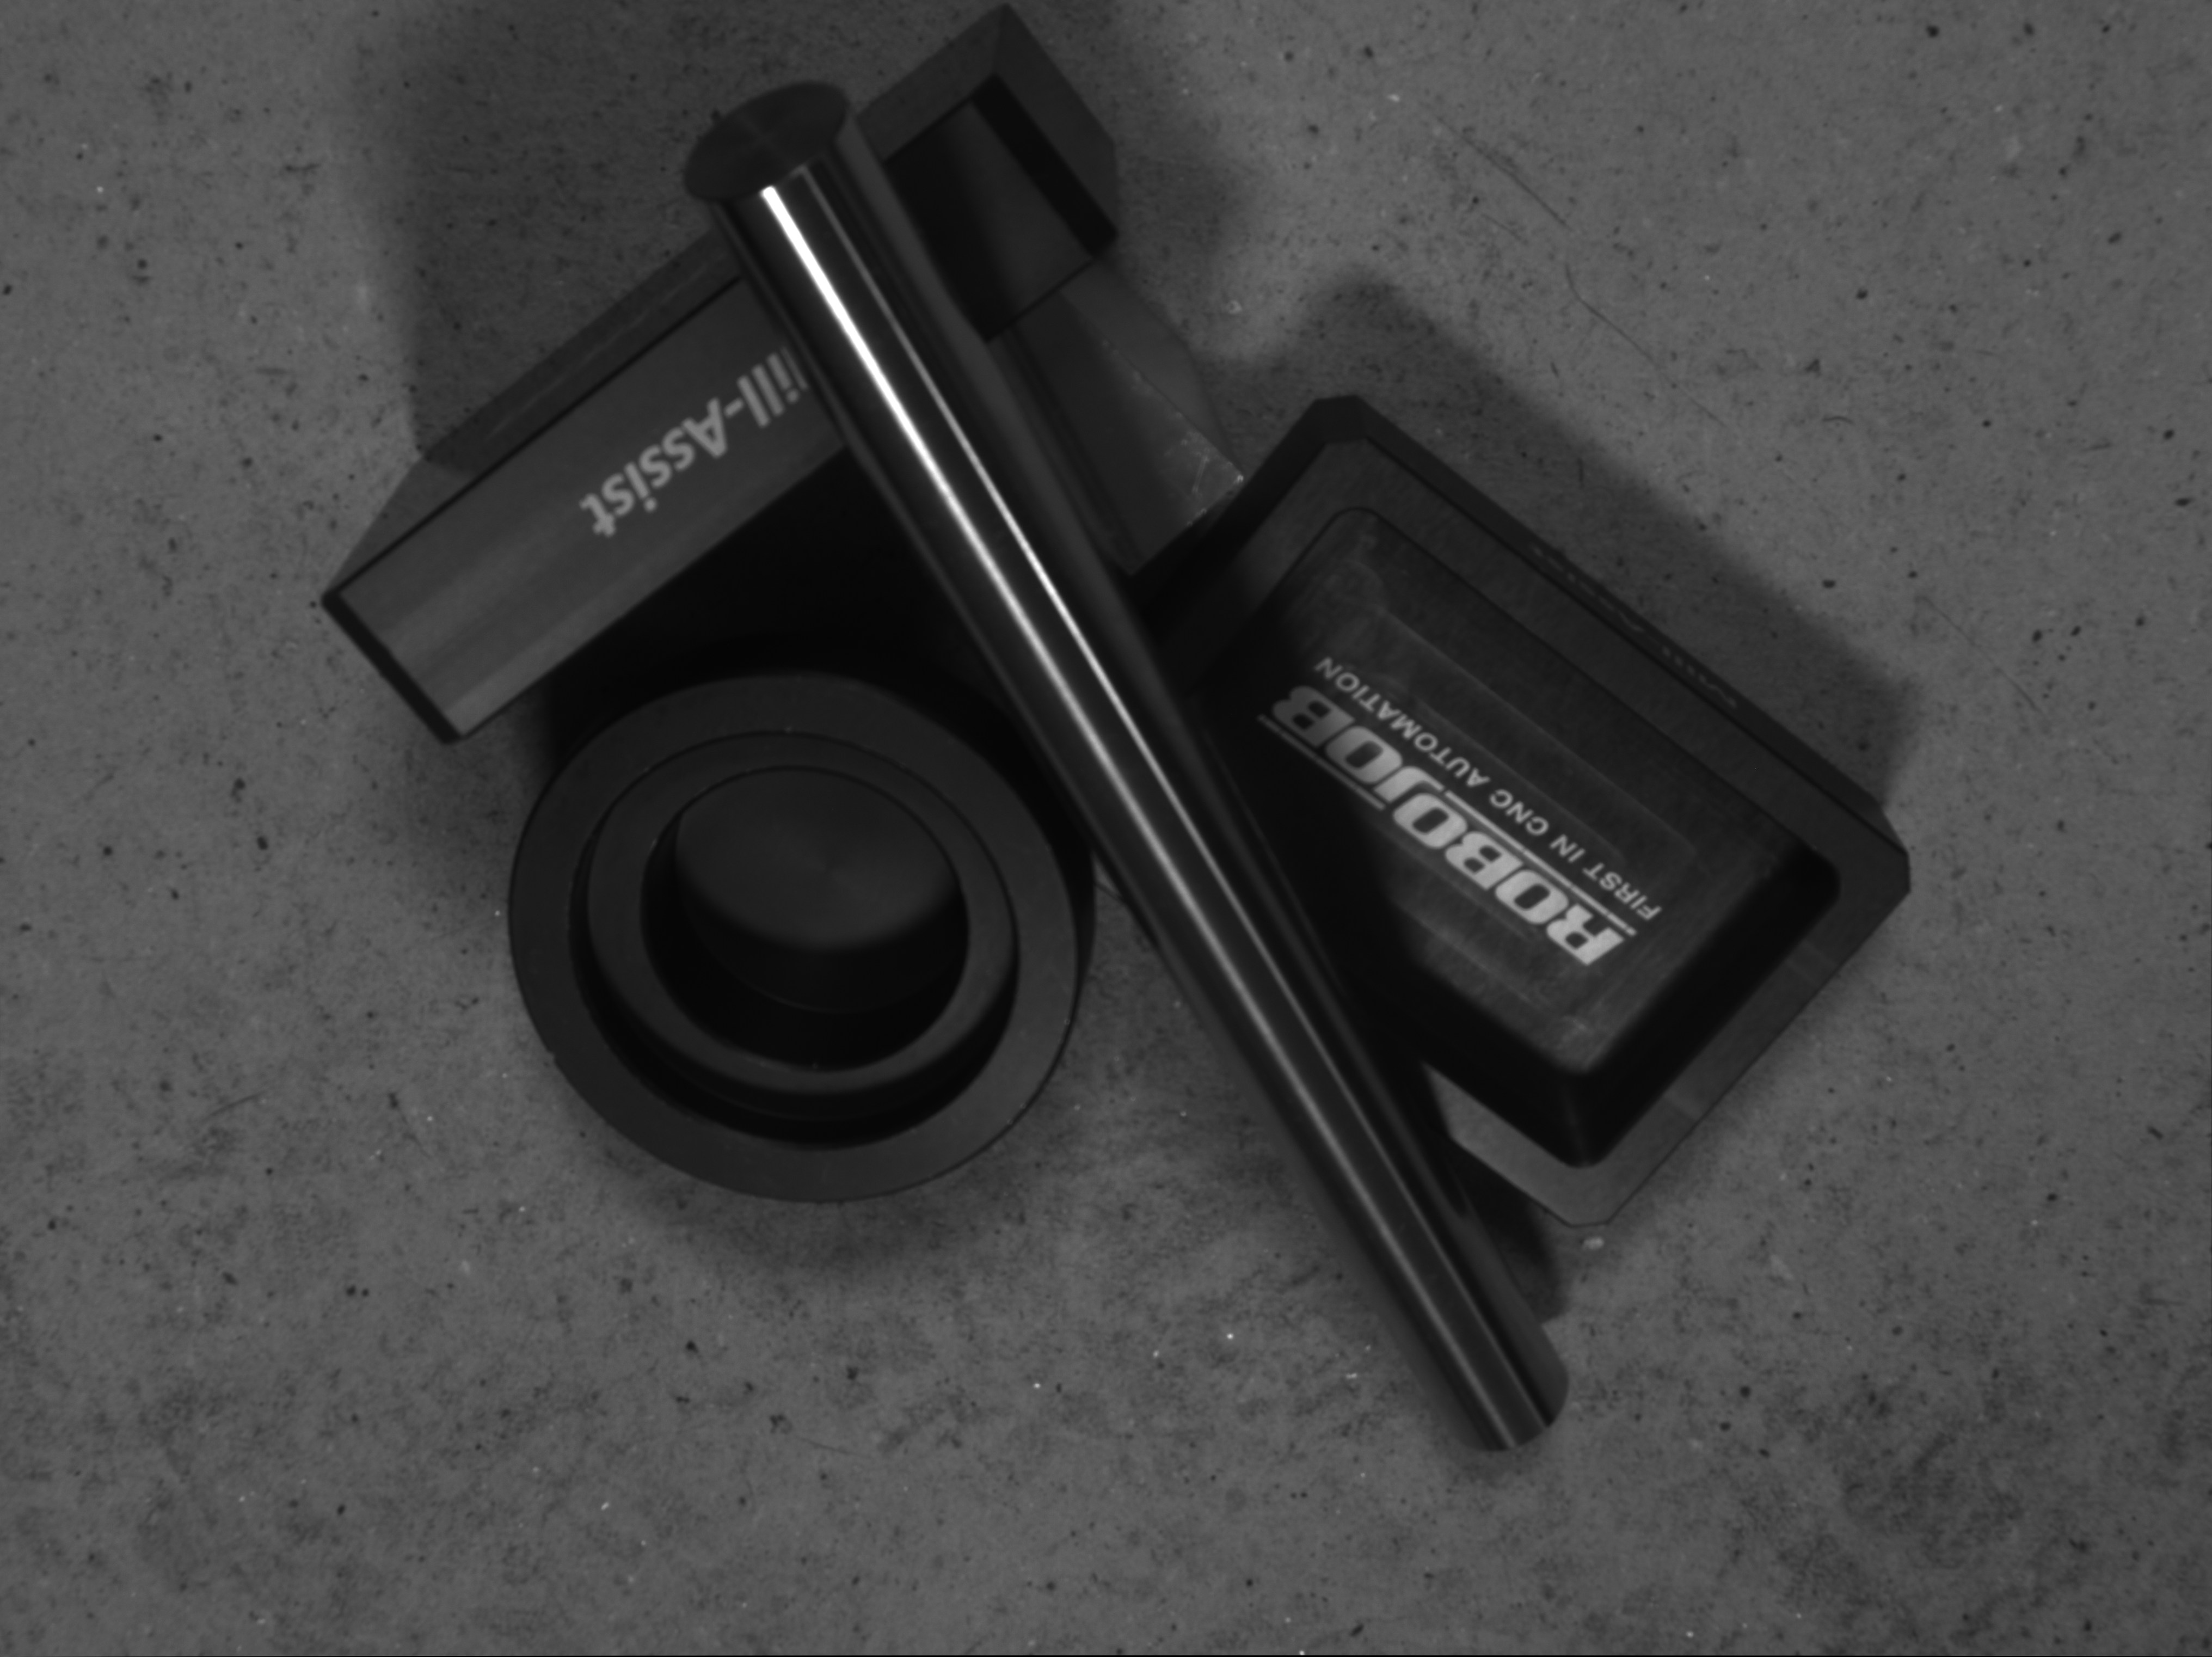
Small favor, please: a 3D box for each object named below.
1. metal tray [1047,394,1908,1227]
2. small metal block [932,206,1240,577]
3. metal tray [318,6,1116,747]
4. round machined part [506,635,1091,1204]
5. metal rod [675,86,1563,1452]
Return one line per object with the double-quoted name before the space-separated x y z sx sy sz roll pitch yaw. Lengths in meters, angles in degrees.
"metal tray" 0.062 -0.002 0.641 0.130 0.030 0.090 36 106 -13
"small metal block" -0.008 -0.076 0.597 0.025 0.050 0.050 -40 120 15
"metal tray" -0.059 -0.074 0.580 0.130 0.090 0.030 -36 106 12
"round machined part" -0.051 0.012 0.634 0.098 0.042 0.098 2 113 5
"metal rod" 0.013 0.007 0.589 0.025 0.025 0.301 -25 130 8
